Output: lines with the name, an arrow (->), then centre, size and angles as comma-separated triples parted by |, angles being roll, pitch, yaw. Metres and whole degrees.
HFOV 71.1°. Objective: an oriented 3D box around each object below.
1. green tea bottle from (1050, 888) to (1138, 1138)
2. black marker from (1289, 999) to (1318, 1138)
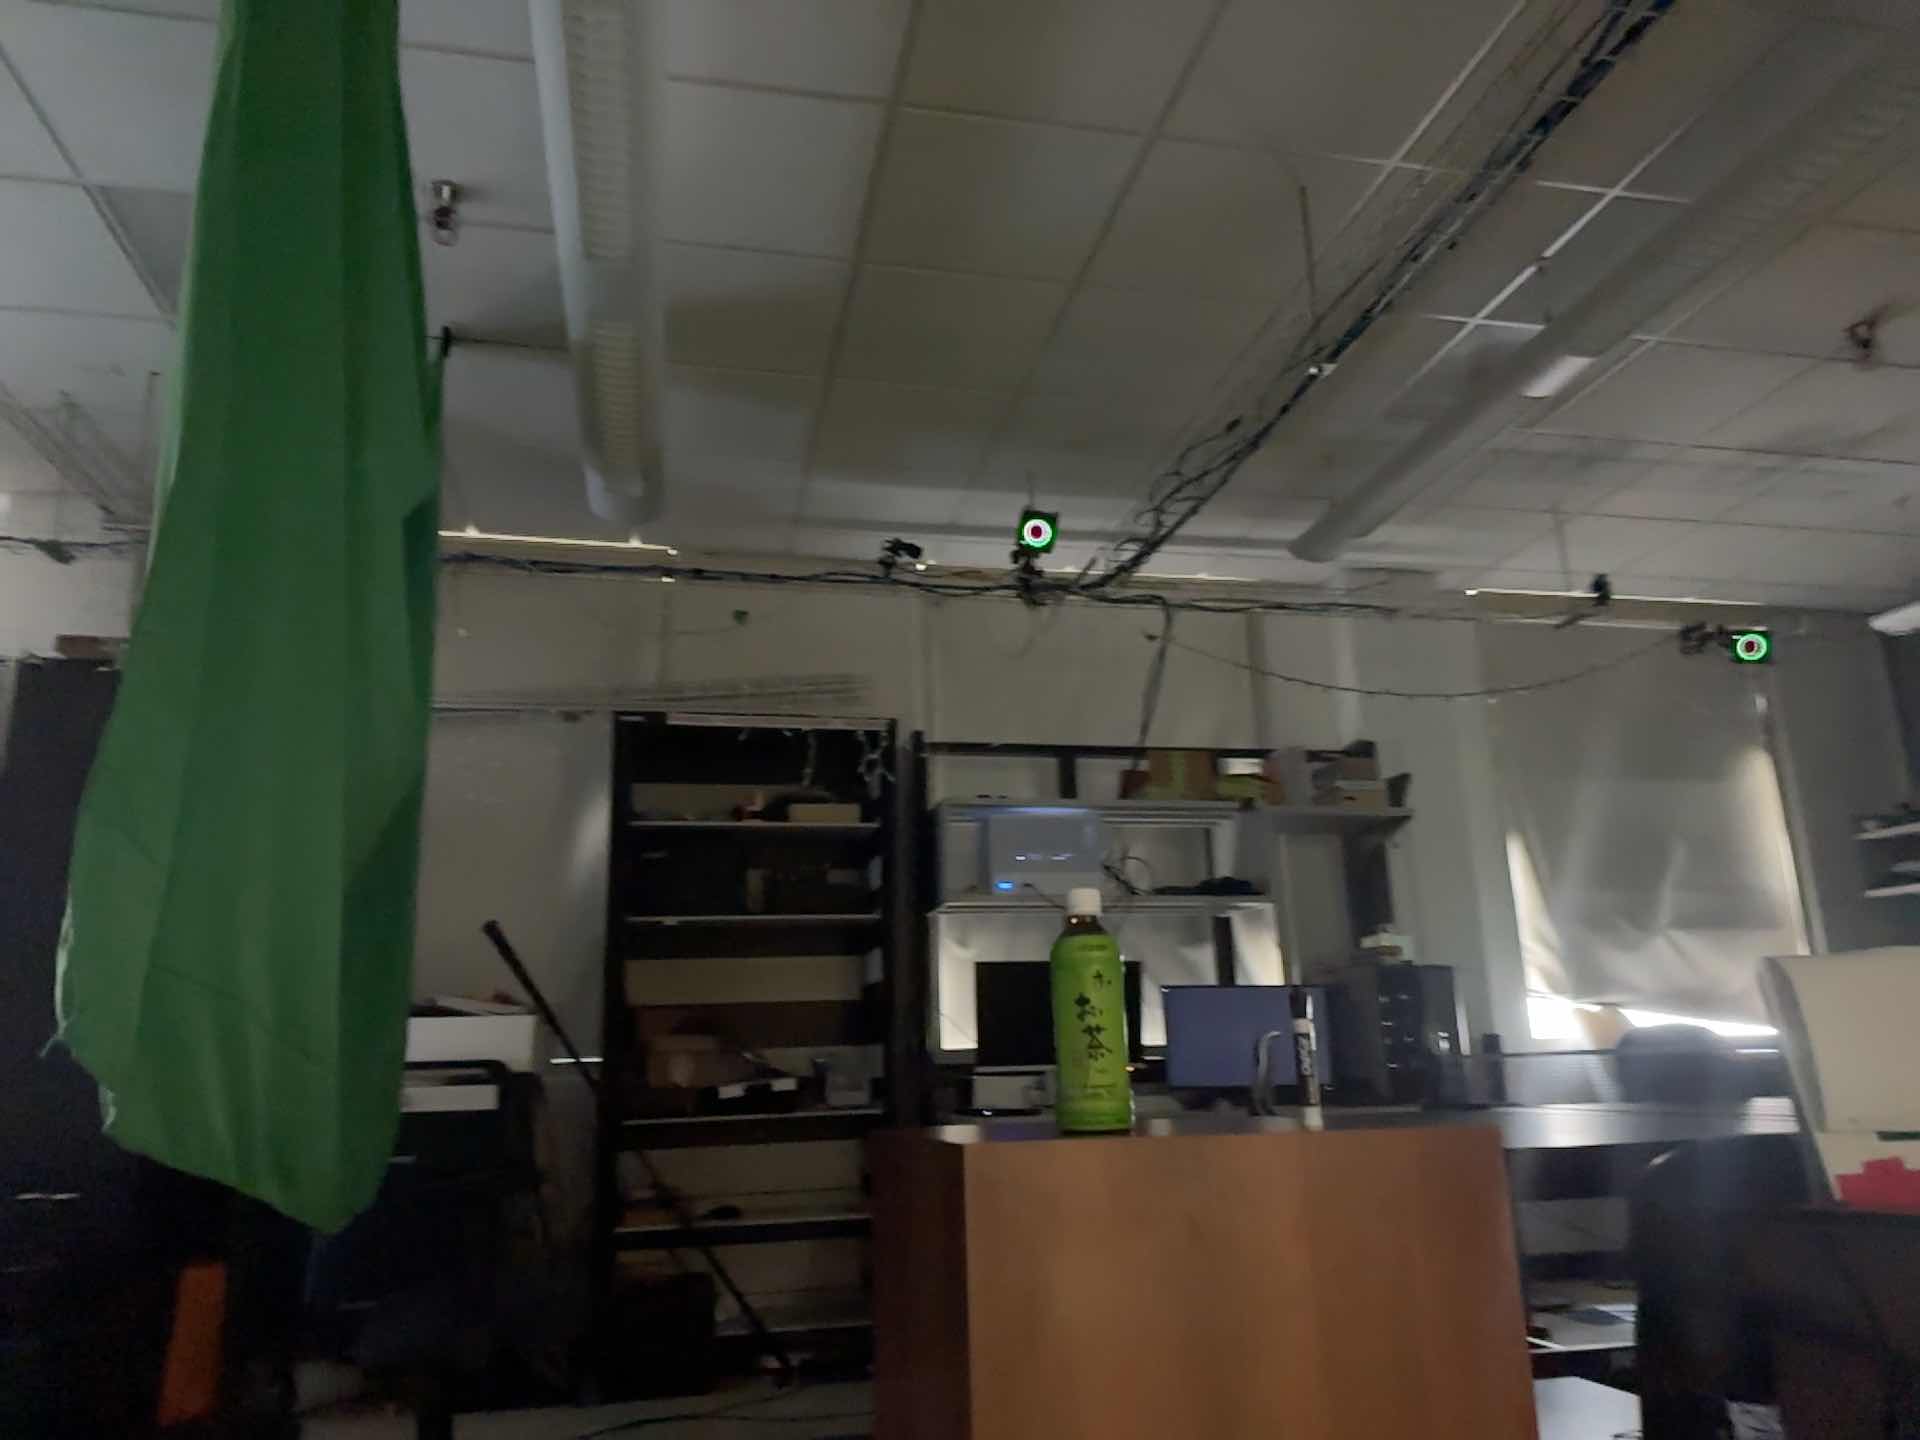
green tea bottle -> 0.114, 0.254, 1.177 | 0.073, 0.212, 0.073 | -3, -15, -1
black marker -> 0.311, 0.315, 1.217 | 0.020, 0.121, 0.020 | 1, -14, 0
